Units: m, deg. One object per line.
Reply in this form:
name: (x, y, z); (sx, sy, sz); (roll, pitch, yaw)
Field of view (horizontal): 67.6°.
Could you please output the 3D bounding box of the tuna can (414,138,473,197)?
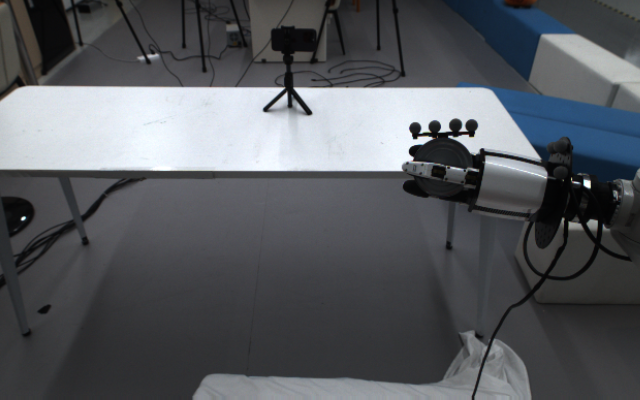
tuna can: (0.181, -0.050, 0.712); (0.085, 0.085, 0.034); (15, 10, 18)
